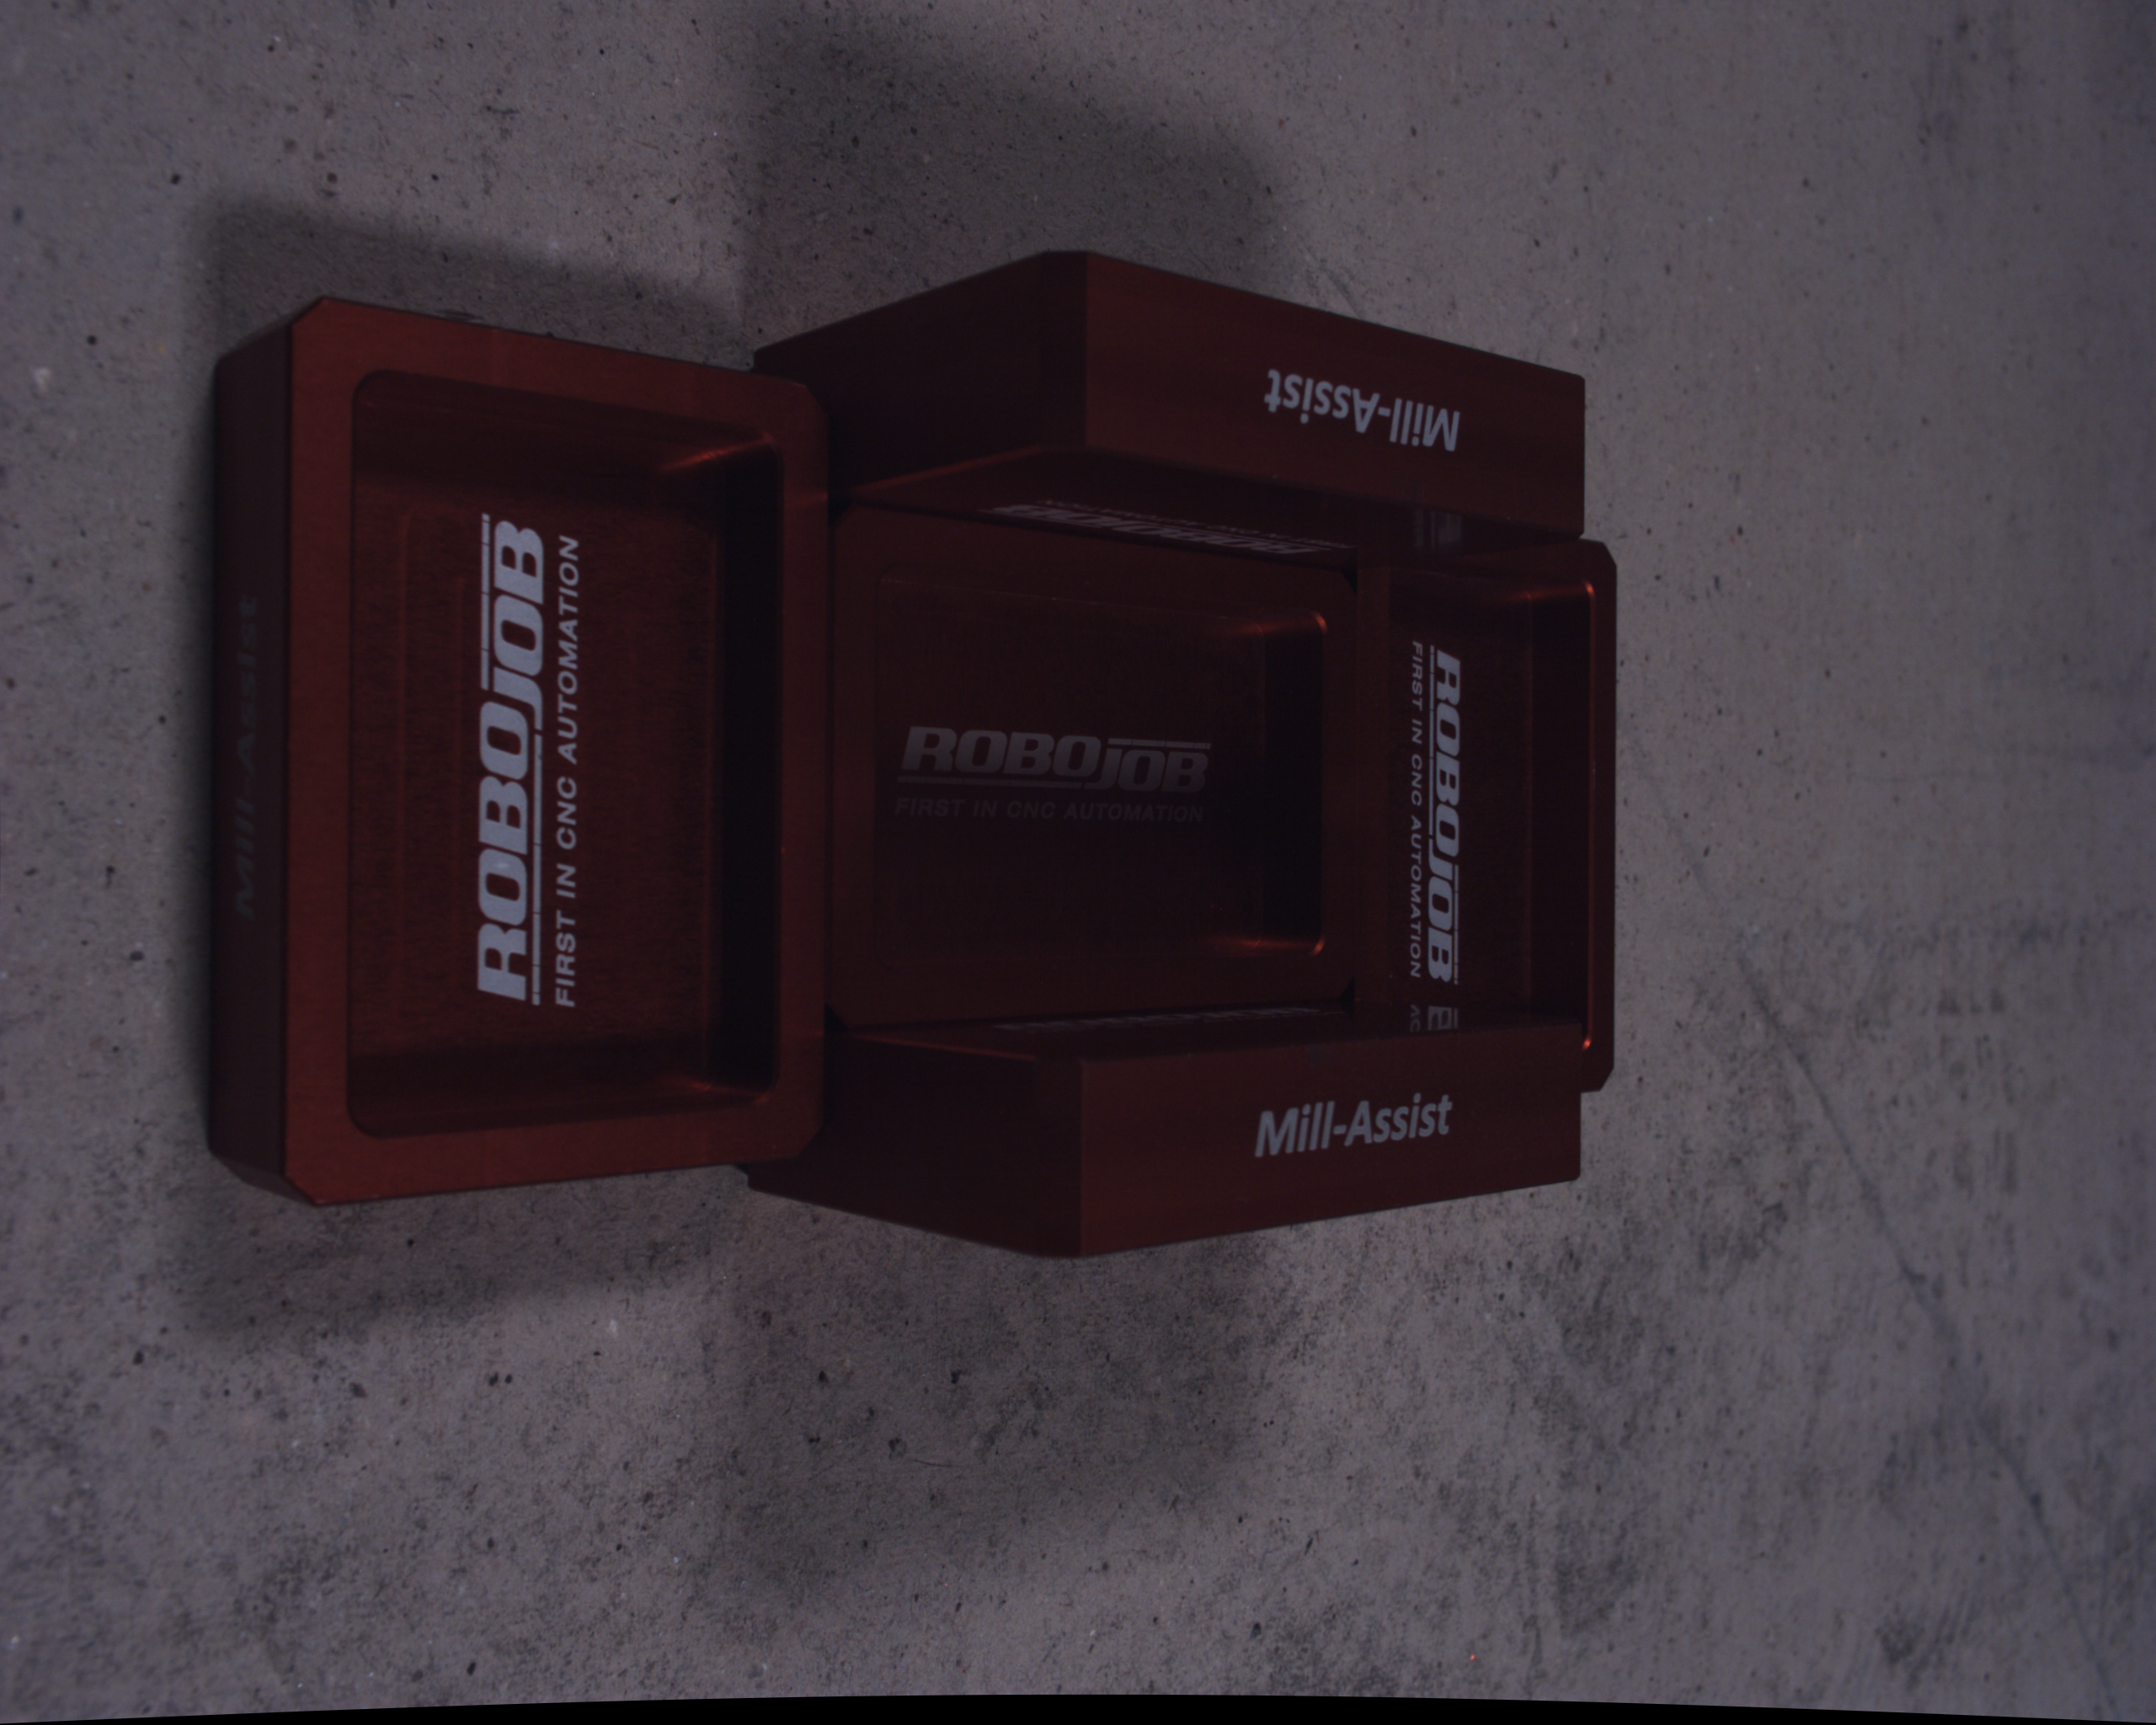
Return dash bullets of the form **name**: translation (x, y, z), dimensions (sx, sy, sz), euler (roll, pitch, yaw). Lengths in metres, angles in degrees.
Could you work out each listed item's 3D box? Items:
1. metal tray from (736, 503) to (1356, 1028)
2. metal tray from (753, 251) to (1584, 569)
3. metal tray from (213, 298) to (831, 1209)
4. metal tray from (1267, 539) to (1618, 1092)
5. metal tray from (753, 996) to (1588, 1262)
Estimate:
- **metal tray**: translation (-0.002, -0.016, 0.404), dimensions (0.131, 0.030, 0.089), euler (1, 90, -40)
- **metal tray**: translation (0.018, -0.076, 0.381), dimensions (0.131, 0.090, 0.030), euler (0, 90, -40)
- **metal tray**: translation (-0.086, -0.015, 0.332), dimensions (0.091, 0.030, 0.129), euler (1, 90, -40)
- **metal tray**: translation (0.084, -0.011, 0.476), dimensions (0.091, 0.030, 0.129), euler (1, 90, -40)
- **metal tray**: translation (0.019, 0.044, 0.380), dimensions (0.131, 0.090, 0.030), euler (0, 90, -40)
